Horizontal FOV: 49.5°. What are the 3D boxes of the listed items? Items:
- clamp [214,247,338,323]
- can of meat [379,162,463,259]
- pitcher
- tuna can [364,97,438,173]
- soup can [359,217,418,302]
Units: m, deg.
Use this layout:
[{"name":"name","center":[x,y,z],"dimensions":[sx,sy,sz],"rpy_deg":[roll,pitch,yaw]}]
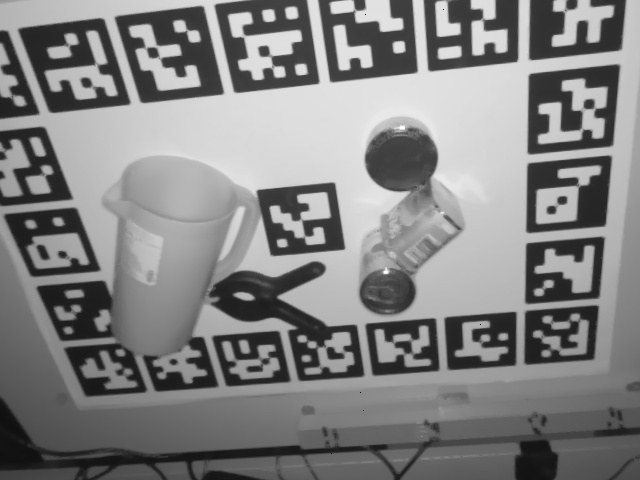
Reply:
[{"name":"clamp","center":[-0.062,0.064,0.945],"dimensions":[0.165,0.037,0.121],"rpy_deg":[-1,123,8]},{"name":"can of meat","center":[0.121,-0.039,0.826],"dimensions":[0.083,0.102,0.058],"rpy_deg":[-39,109,18]},{"name":"pitcher","center":[-0.191,0.007,0.850],"dimensions":[0.191,0.133,0.239],"rpy_deg":[2,129,-23]},{"name":"tuna can","center":[0.095,-0.125,0.821],"dimensions":[0.086,0.034,0.085],"rpy_deg":[1,118,3]},{"name":"soup can","center":[0.083,0.022,0.867],"dimensions":[0.068,0.103,0.067],"rpy_deg":[0,117,1]}]
